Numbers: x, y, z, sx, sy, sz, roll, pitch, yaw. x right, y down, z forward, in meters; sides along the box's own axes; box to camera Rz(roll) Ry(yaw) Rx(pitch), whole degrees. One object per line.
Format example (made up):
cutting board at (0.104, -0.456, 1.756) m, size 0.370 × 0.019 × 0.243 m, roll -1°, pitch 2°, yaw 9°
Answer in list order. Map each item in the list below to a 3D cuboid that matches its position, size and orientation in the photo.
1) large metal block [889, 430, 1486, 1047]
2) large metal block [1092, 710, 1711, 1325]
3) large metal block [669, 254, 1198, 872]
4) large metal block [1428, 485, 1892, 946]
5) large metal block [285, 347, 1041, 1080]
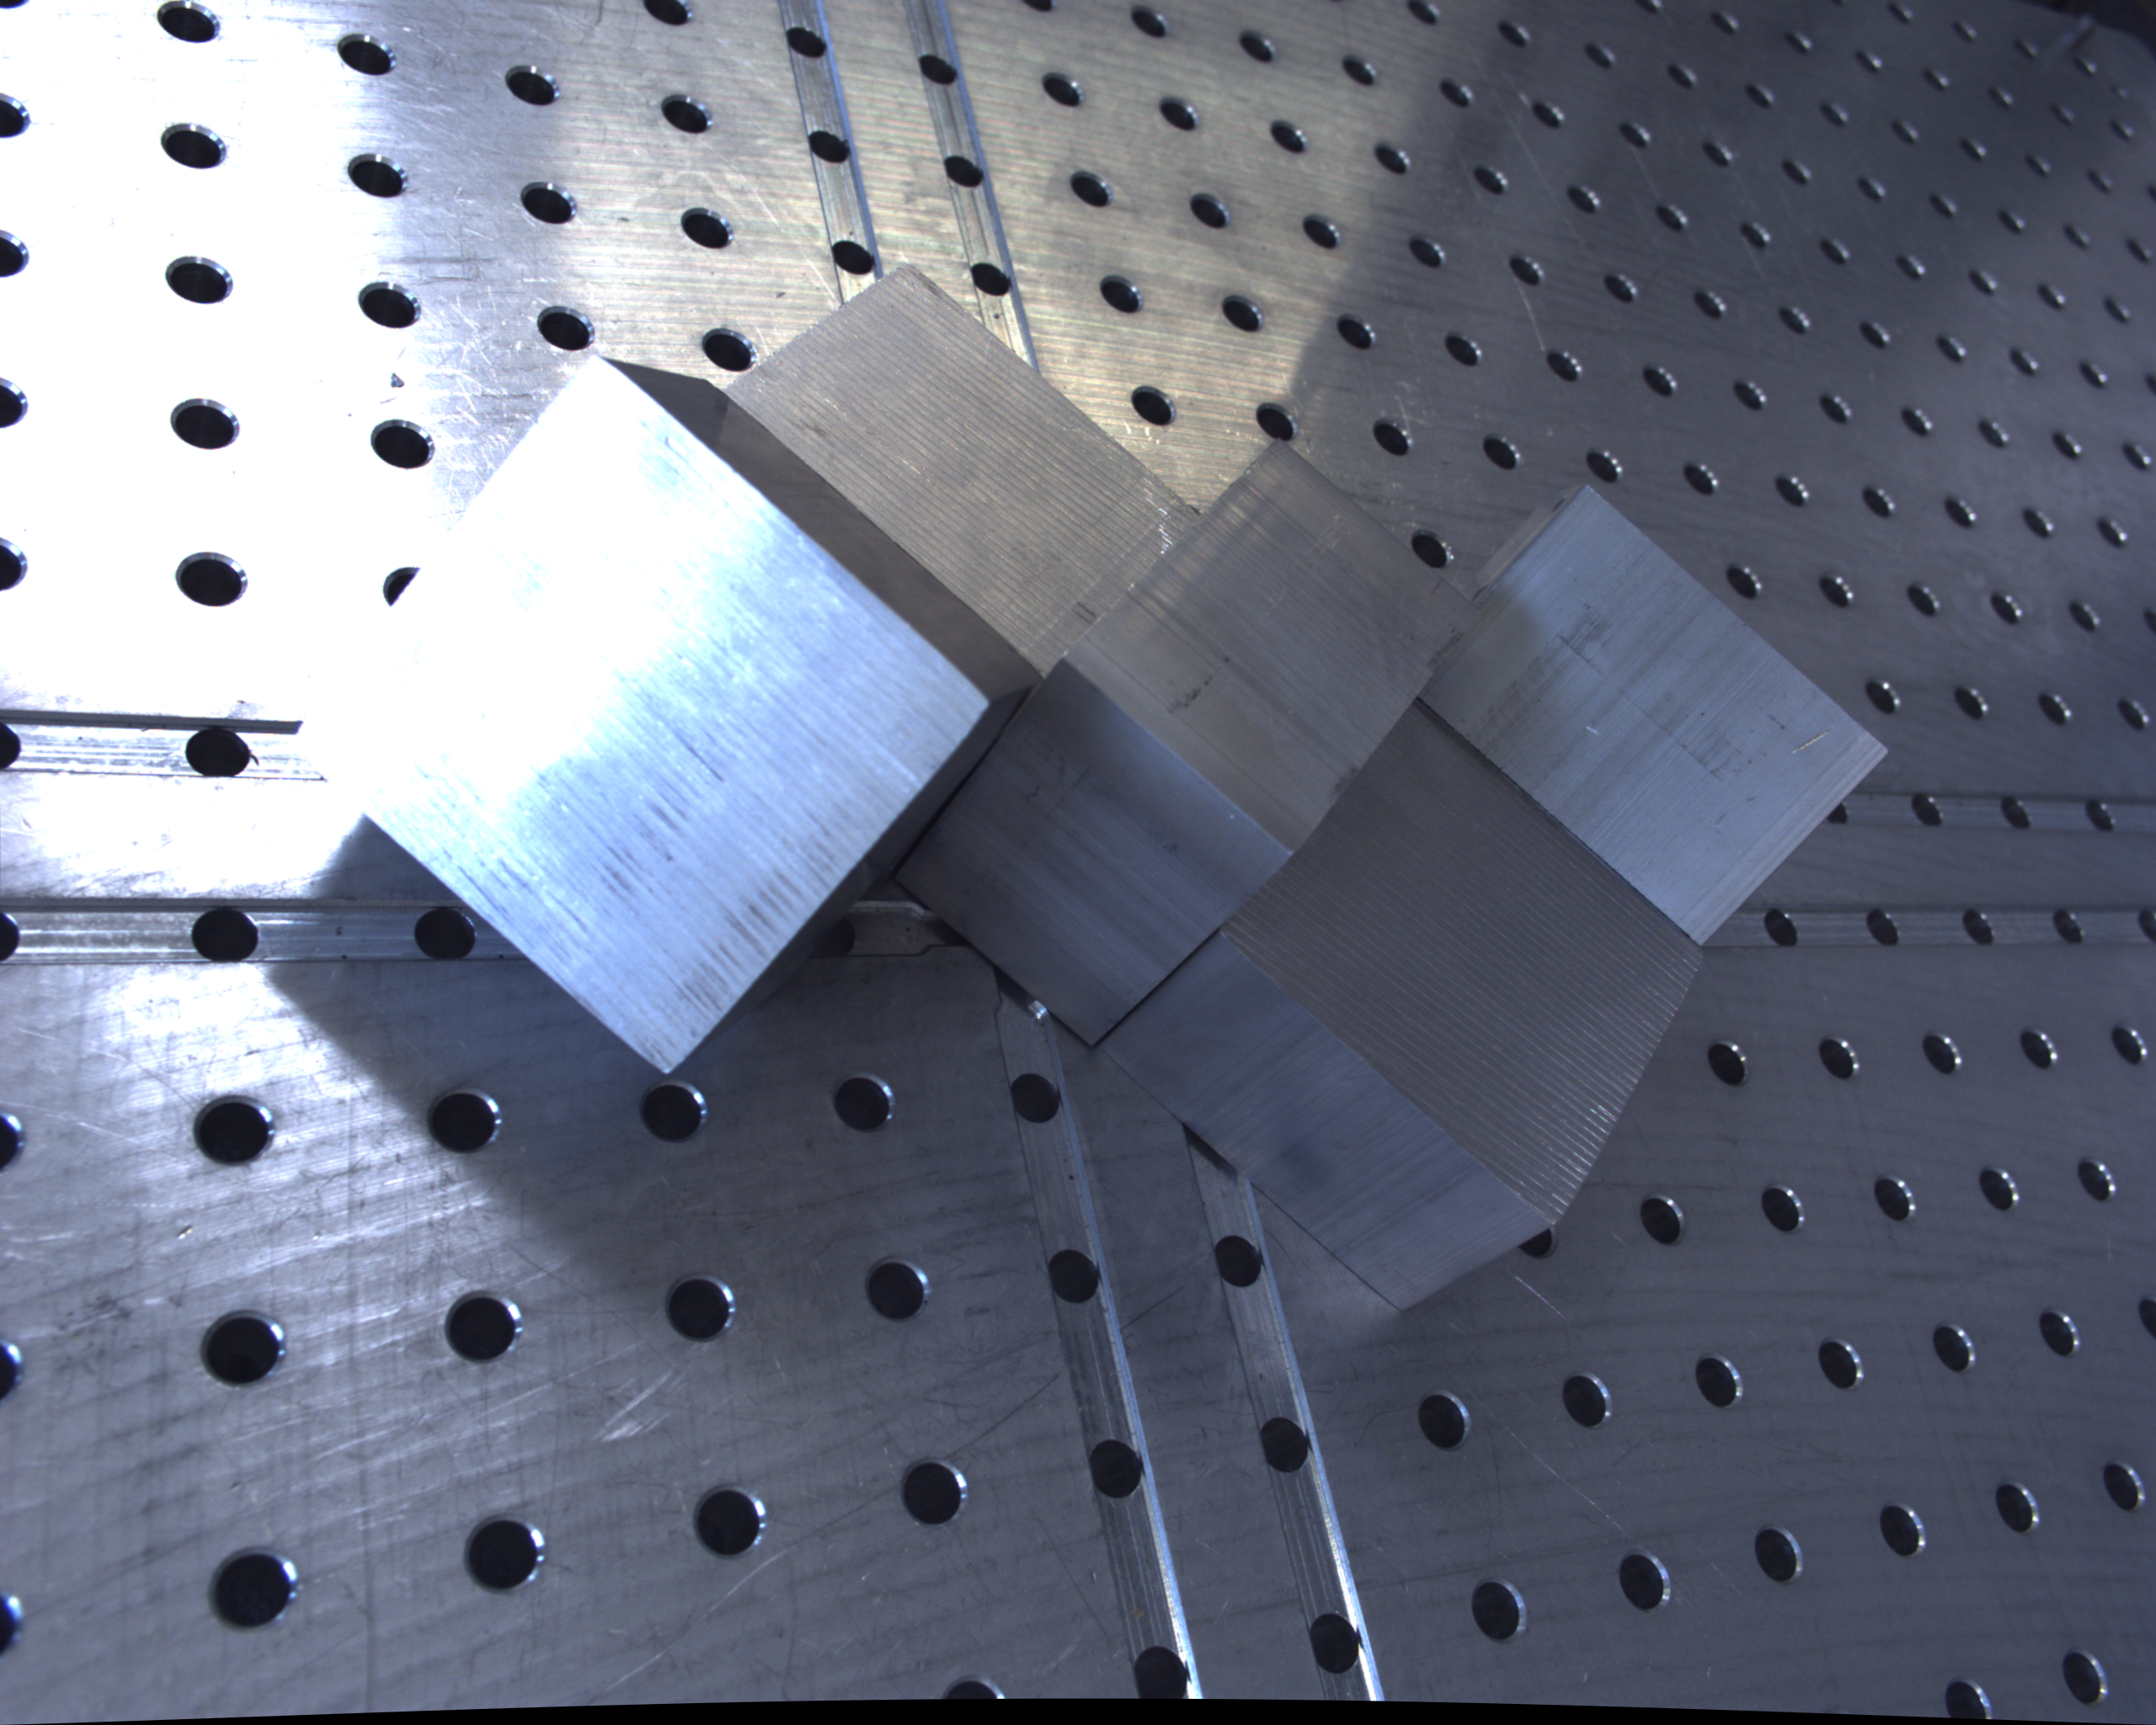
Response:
large metal block at (0.020, -0.023, 0.396) m, size 0.050 × 0.080 × 0.080 m, roll 42°, pitch 51°, yaw -2°
large metal block at (0.064, 0.028, 0.409) m, size 0.080 × 0.050 × 0.080 m, roll 41°, pitch 51°, yaw 1°
large metal block at (-0.035, -0.059, 0.409) m, size 0.080 × 0.050 × 0.080 m, roll 42°, pitch 52°, yaw -1°
large metal block at (0.116, -0.034, 0.448) m, size 0.080 × 0.050 × 0.080 m, roll 42°, pitch 11°, yaw 0°
large metal block at (-0.065, -0.025, 0.344) m, size 0.080 × 0.080 × 0.050 m, roll 42°, pitch 12°, yaw 0°
